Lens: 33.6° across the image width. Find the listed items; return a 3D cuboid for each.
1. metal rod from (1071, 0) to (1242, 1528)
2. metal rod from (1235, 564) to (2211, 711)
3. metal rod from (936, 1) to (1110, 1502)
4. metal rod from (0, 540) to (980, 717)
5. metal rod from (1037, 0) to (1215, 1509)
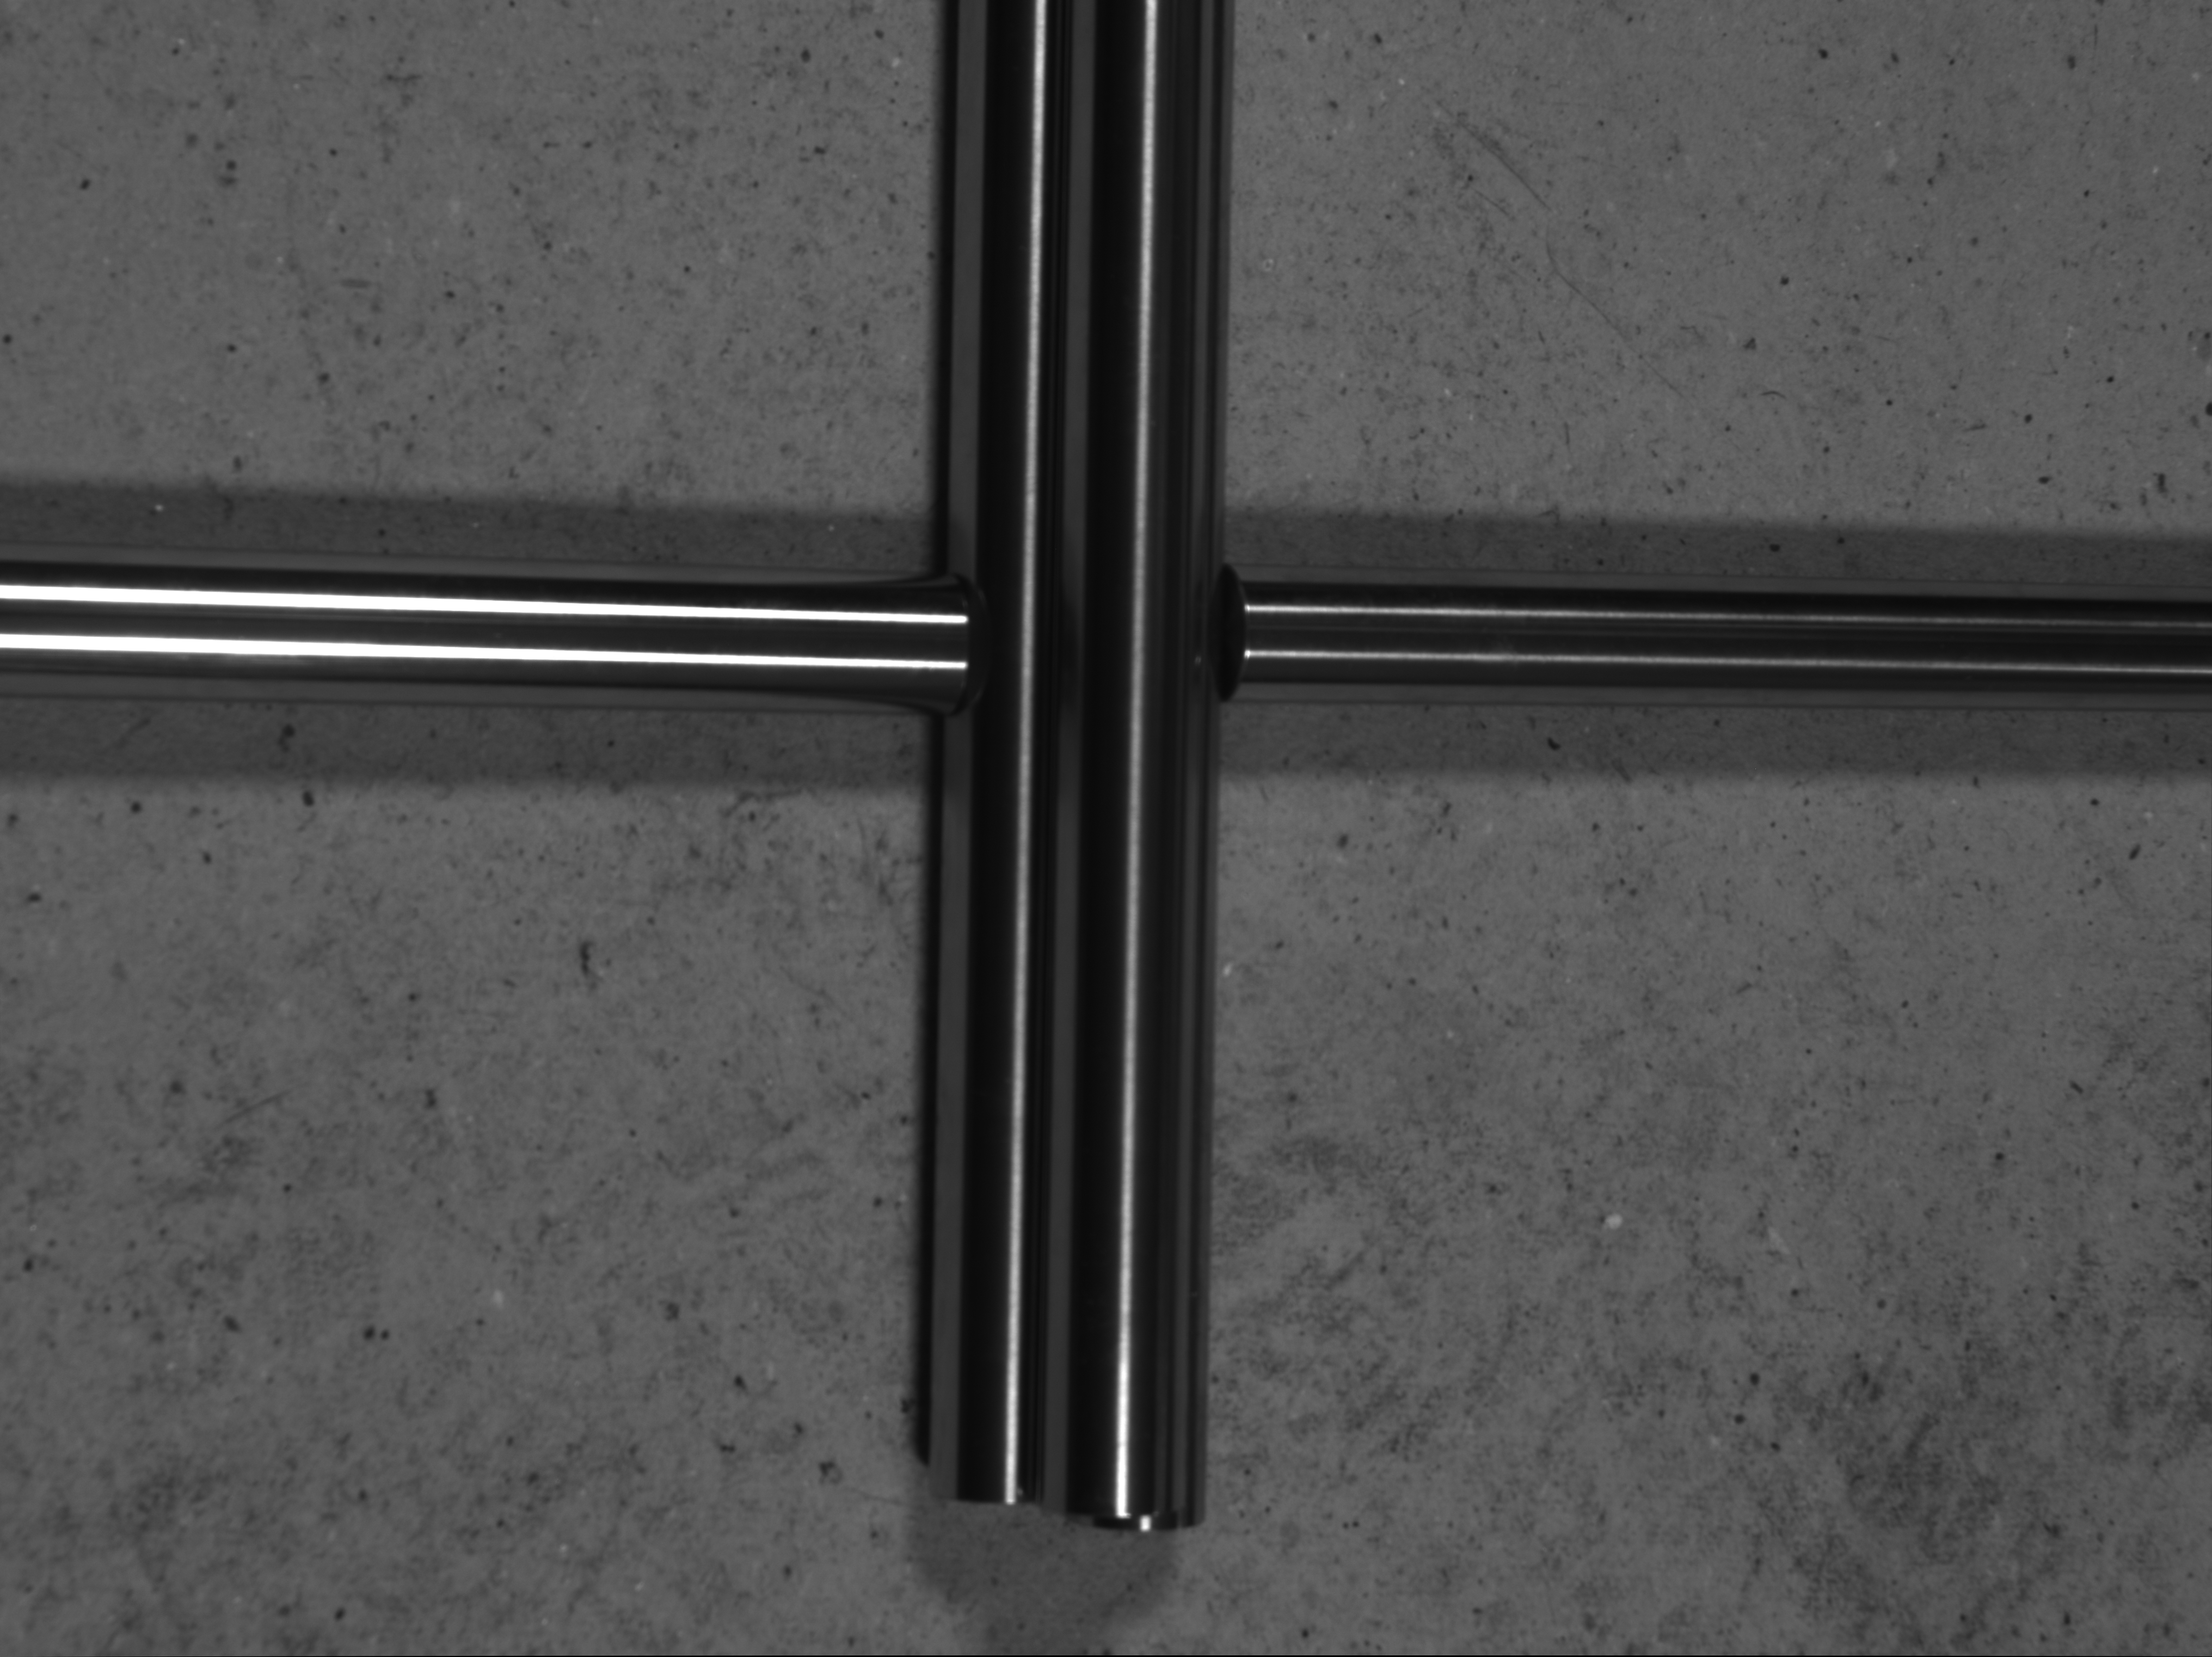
[{"bbox_3d":[0.009,-0.029,0.648,0.025,0.025,0.300,1,89,-20],"label":"metal rod"},{"bbox_3d":[0.163,-0.035,0.702,0.301,0.025,0.025,0,90,-20],"label":"metal rod"},{"bbox_3d":[-0.014,-0.035,0.639,0.025,0.025,0.300,1,89,-20],"label":"metal rod"},{"bbox_3d":[-0.167,-0.033,0.583,0.301,0.025,0.025,1,90,-20],"label":"metal rod"},{"bbox_3d":[0.004,-0.037,0.624,0.025,0.025,0.300,1,89,-20],"label":"metal rod"}]
